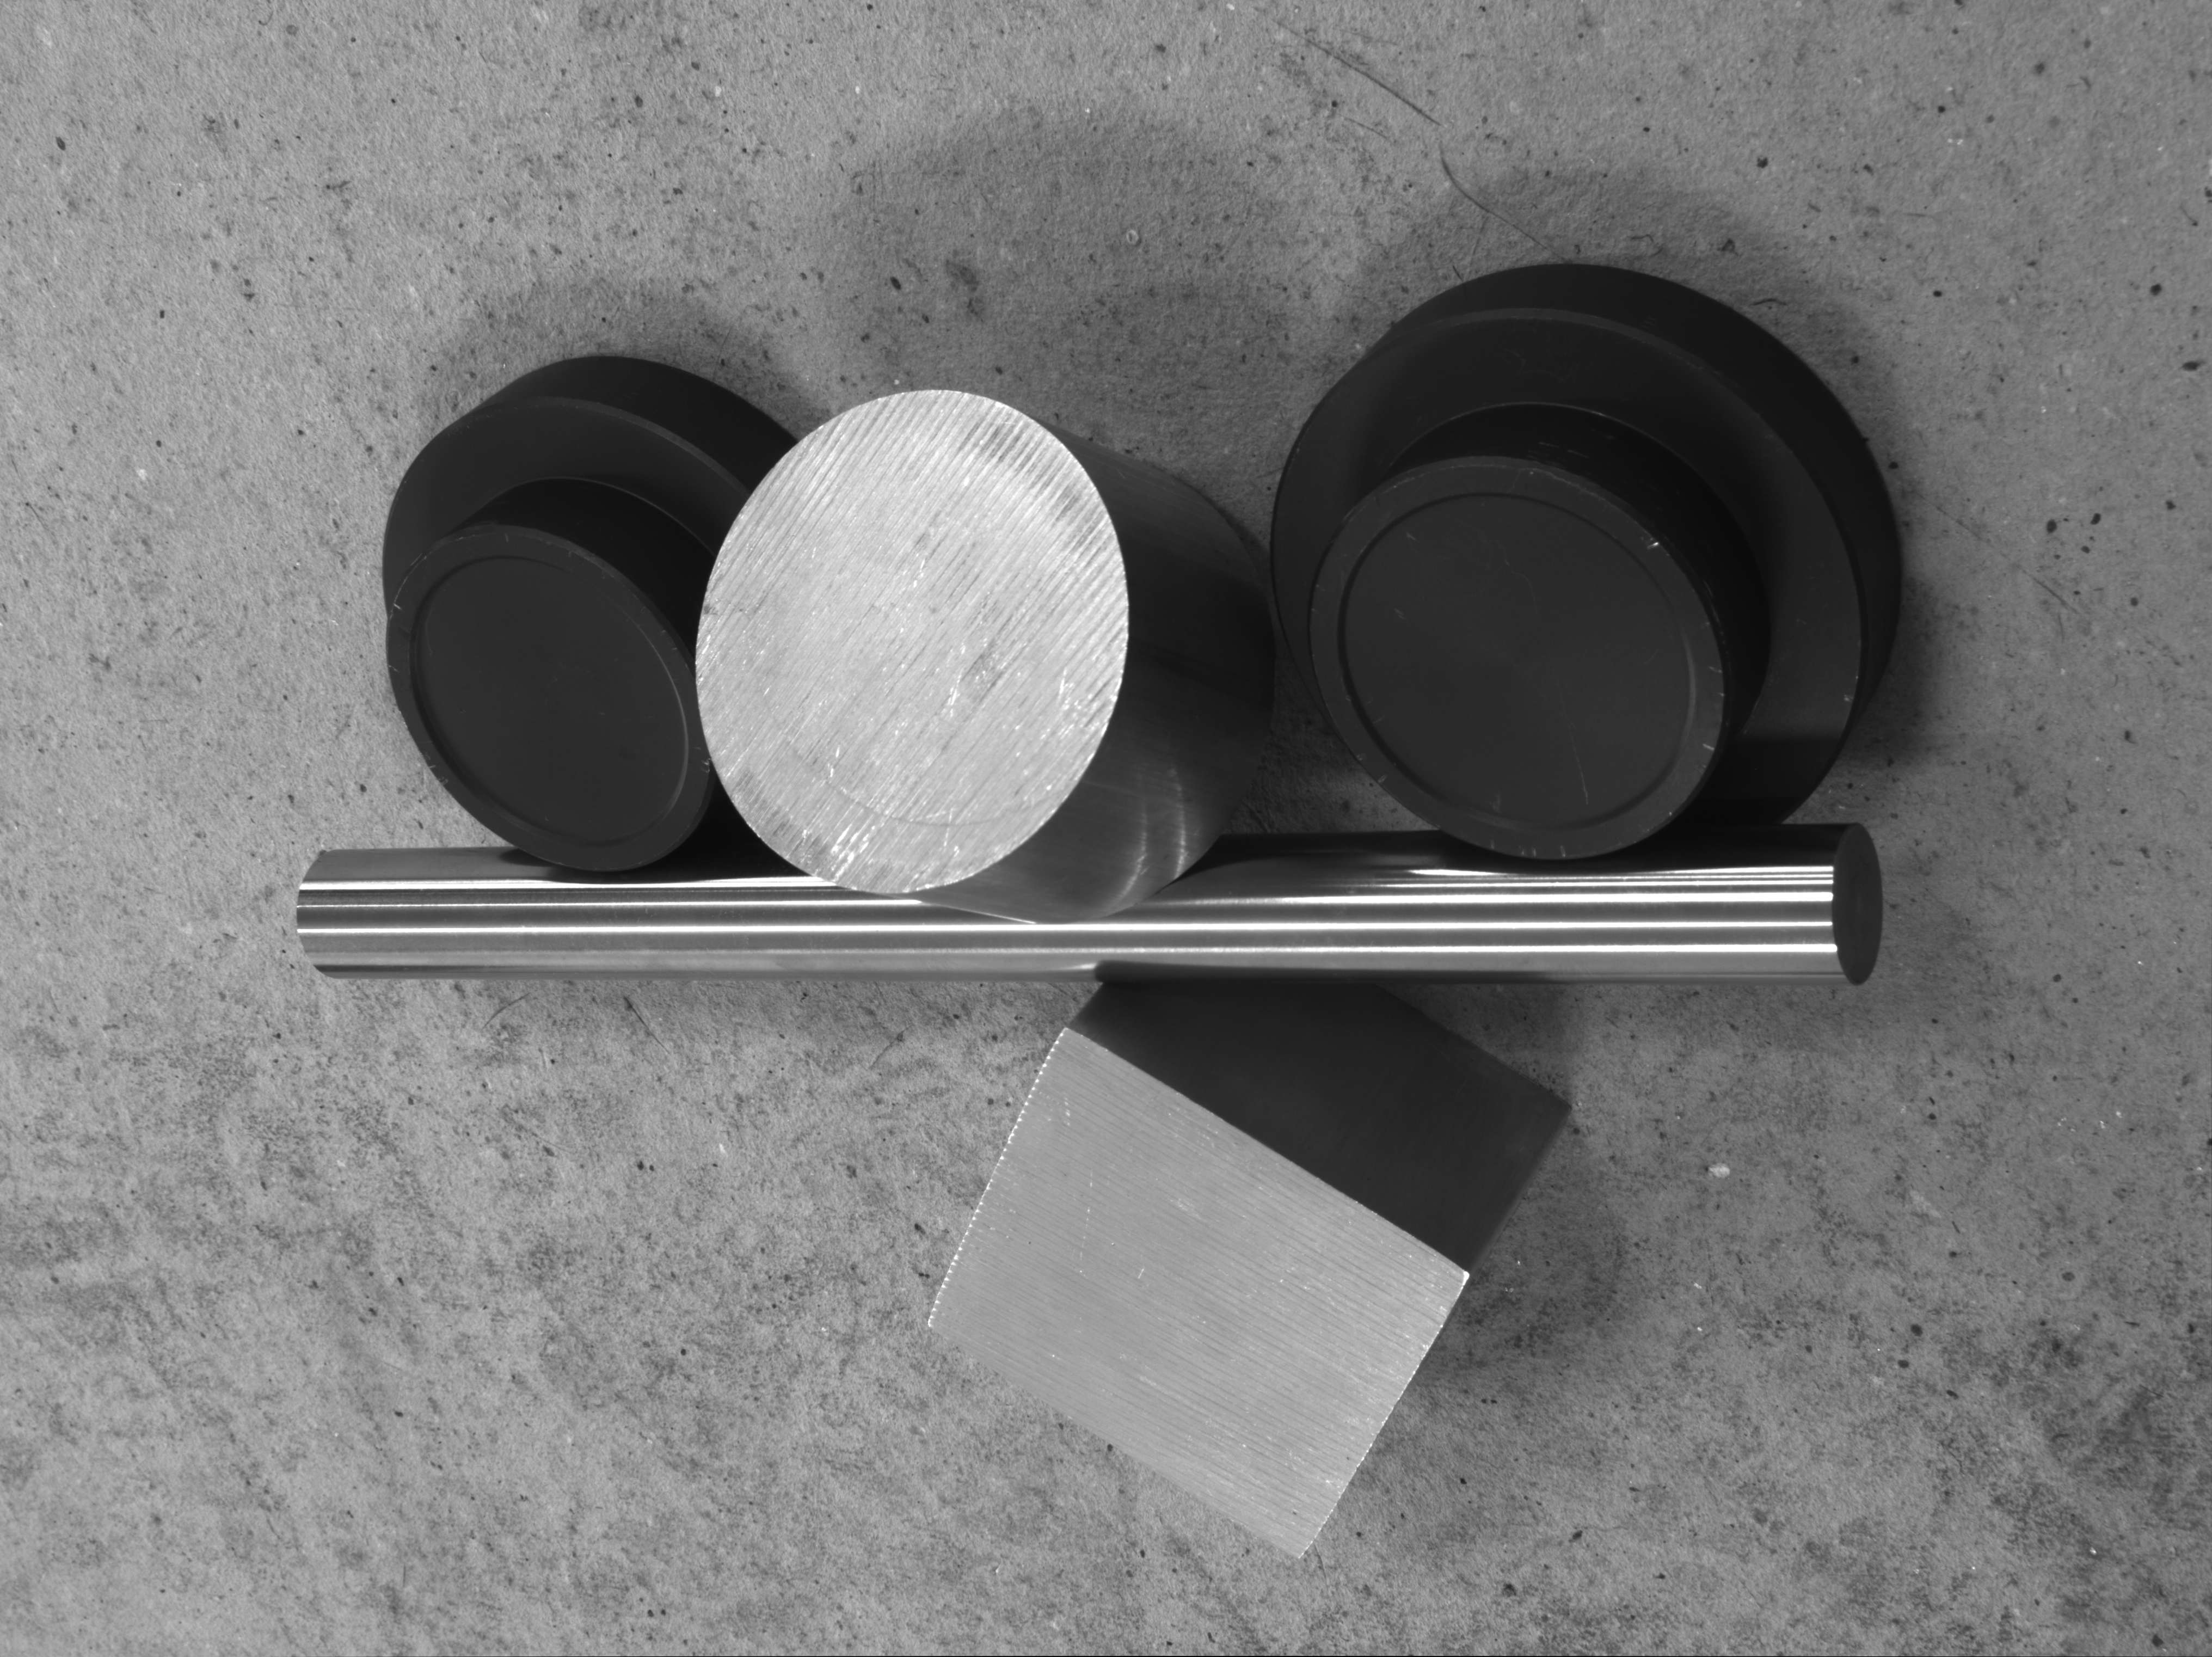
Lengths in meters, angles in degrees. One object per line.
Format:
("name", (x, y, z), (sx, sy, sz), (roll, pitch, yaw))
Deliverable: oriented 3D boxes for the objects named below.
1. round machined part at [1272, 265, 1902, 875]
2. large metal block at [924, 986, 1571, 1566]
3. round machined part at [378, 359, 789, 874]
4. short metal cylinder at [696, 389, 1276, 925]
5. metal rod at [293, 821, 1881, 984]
("round machined part", (0.071, -0.034, 0.573), (0.098, 0.042, 0.098), (13, 124, 21))
("large metal block", (0.024, 0.070, 0.654), (0.080, 0.050, 0.080), (31, 128, 9))
("round machined part", (-0.090, -0.031, 0.661), (0.098, 0.042, 0.098), (13, 124, 21))
("short metal cylinder", (-0.019, -0.026, 0.597), (0.080, 0.050, 0.080), (-5, 81, 28))
("metal rod", (-0.016, 0.014, 0.633), (0.299, 0.025, 0.025), (-1, 118, 29))
